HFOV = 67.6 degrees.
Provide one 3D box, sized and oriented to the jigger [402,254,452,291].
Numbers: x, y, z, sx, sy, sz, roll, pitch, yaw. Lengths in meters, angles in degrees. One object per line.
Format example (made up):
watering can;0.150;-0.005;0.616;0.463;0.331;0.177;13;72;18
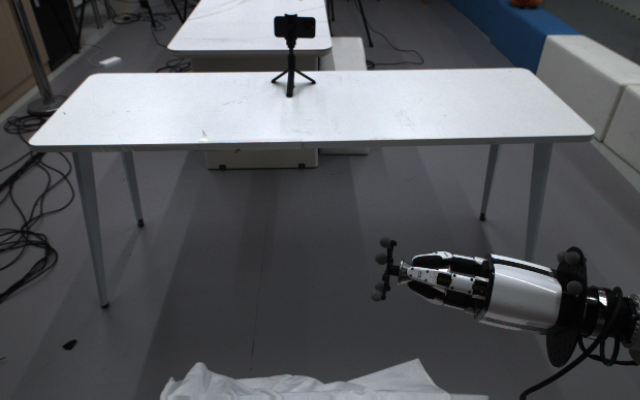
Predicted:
jigger;0.154;0.104;0.686;0.071;0.043;0.043;8;35;14
